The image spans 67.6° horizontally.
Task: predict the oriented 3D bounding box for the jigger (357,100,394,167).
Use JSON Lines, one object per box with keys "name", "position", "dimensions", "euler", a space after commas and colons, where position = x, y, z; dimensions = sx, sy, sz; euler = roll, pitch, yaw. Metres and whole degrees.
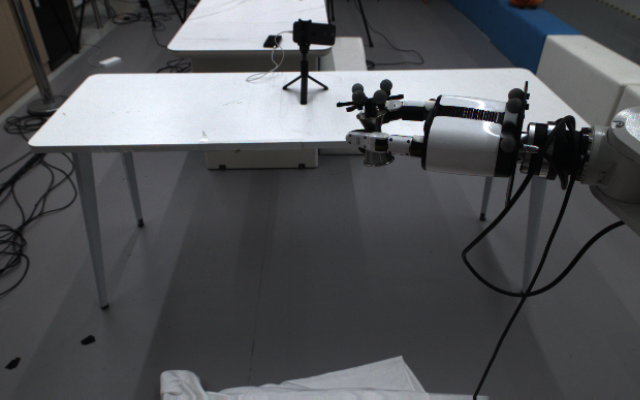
{"name": "jigger", "position": [0.076, -0.087, 0.662], "dimensions": [0.043, 0.071, 0.043], "euler": [-11, 23, 5]}
